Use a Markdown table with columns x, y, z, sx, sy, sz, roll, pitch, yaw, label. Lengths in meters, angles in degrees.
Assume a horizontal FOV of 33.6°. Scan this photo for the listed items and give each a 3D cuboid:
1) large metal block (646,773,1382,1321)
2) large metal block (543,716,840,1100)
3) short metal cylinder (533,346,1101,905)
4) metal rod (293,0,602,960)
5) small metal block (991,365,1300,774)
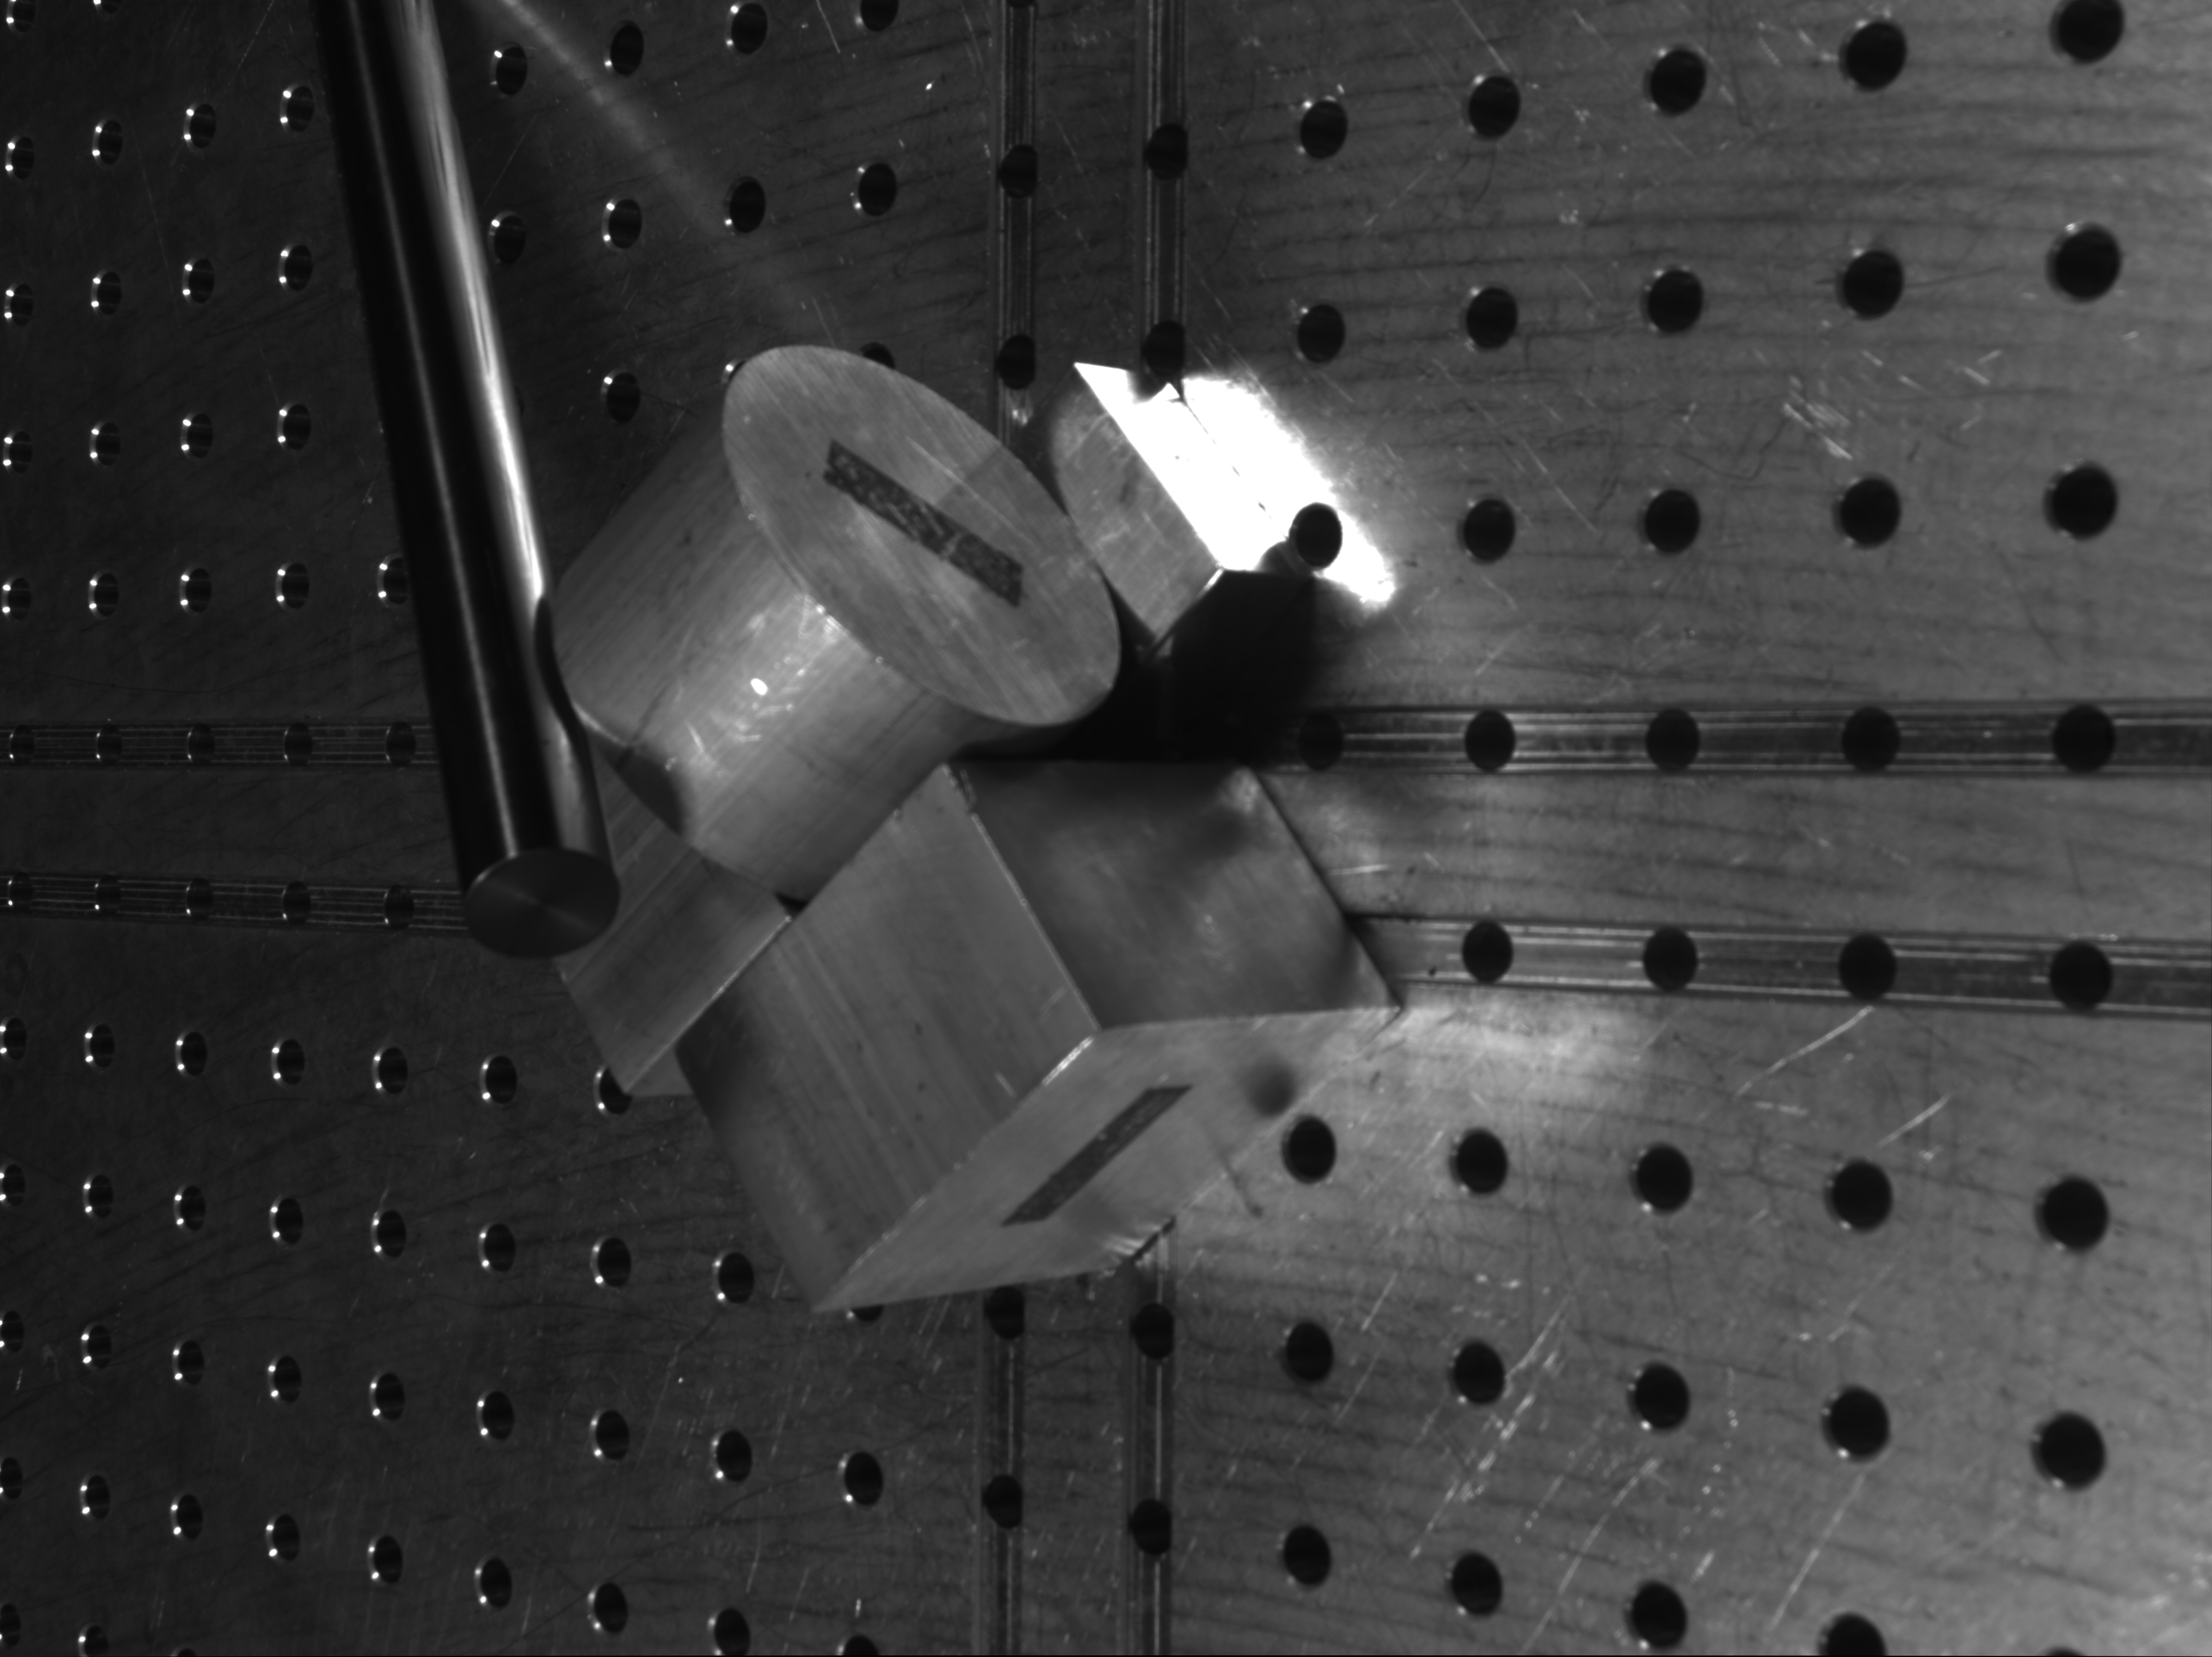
| x | y | z | sx | sy | sz | roll | pitch | yaw | label |
| --- | --- | --- | --- | --- | --- | --- | --- | --- | --- |
| -0.015 | 0.036 | 0.614 | 0.080 | 0.080 | 0.050 | -45 | 63 | 30 | large metal block |
| -0.062 | -0.001 | 0.656 | 0.050 | 0.080 | 0.080 | -45 | 63 | 30 | large metal block |
| -0.048 | -0.033 | 0.610 | 0.050 | 0.080 | 0.080 | -44 | 64 | 30 | short metal cylinder |
| -0.128 | -0.093 | 0.677 | 0.025 | 0.025 | 0.300 | -48 | 40 | 28 | metal rod |
| -0.002 | -0.045 | 0.642 | 0.050 | 0.025 | 0.050 | -49 | 61 | 28 | small metal block |
